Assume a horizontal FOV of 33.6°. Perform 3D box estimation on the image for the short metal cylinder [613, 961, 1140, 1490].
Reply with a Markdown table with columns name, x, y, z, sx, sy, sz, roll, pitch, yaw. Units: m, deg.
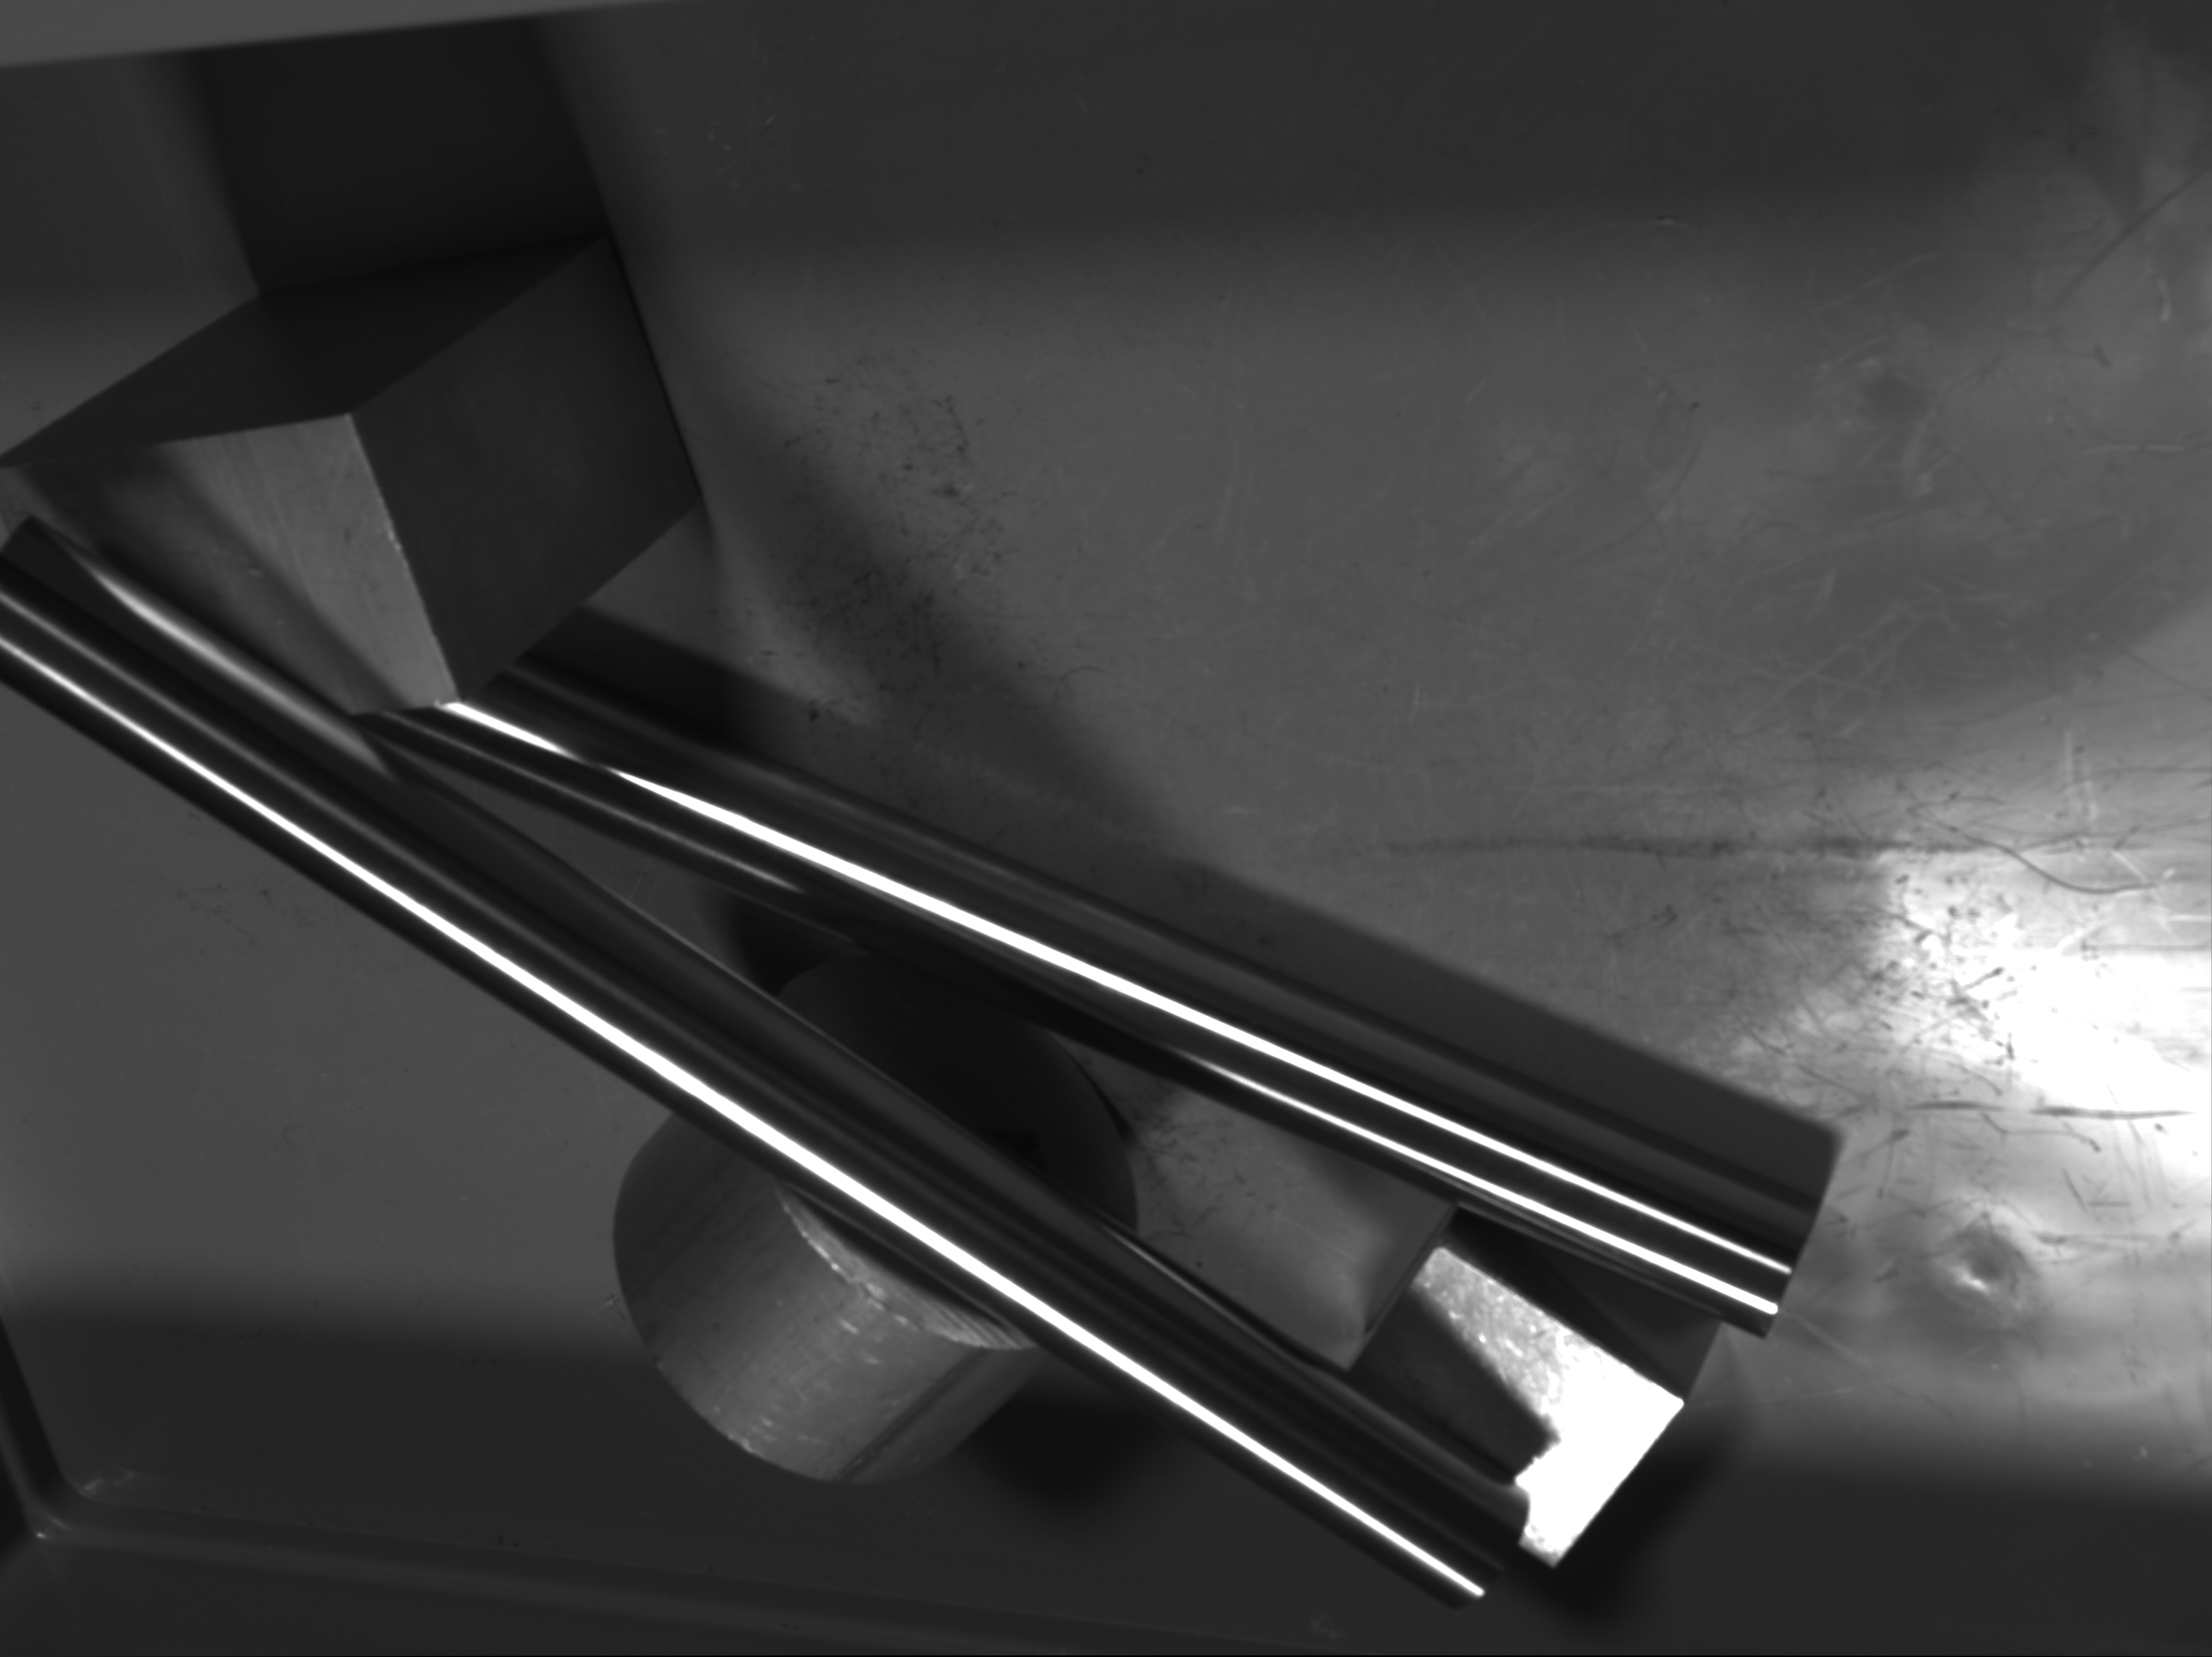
| name | x | y | z | sx | sy | sz | roll | pitch | yaw |
| --- | --- | --- | --- | --- | --- | --- | --- | --- | --- |
| short metal cylinder | -0.041 | 0.071 | 0.657 | 0.080 | 0.080 | 0.050 | 43 | 128 | -2 |

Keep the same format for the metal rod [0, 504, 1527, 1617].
| name | x | y | z | sx | sy | sz | roll | pitch | yaw |
| --- | --- | --- | --- | --- | --- | --- | --- | --- | --- |
| metal rod | -0.055 | 0.043 | 0.609 | 0.300 | 0.025 | 0.025 | 35 | 129 | -12 |

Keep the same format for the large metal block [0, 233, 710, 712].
| name | x | y | z | sx | sy | sz | roll | pitch | yaw |
| --- | --- | --- | --- | --- | --- | --- | --- | --- | --- |
| large metal block | -0.128 | -0.059 | 0.624 | 0.080 | 0.080 | 0.050 | -4 | 116 | 28 |

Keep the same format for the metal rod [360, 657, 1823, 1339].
| name | x | y | z | sx | sy | sz | roll | pitch | yaw |
| --- | --- | --- | --- | --- | --- | --- | --- | --- | --- |
| metal rod | -0.019 | 0.018 | 0.650 | 0.300 | 0.025 | 0.025 | 23 | 126 | 13 |

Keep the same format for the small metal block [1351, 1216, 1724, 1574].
| name | x | y | z | sx | sy | sz | roll | pitch | yaw |
| --- | --- | --- | --- | --- | --- | --- | --- | --- | --- |
| small metal block | 0.074 | 0.096 | 0.651 | 0.050 | 0.025 | 0.050 | 33 | 128 | 5 |
